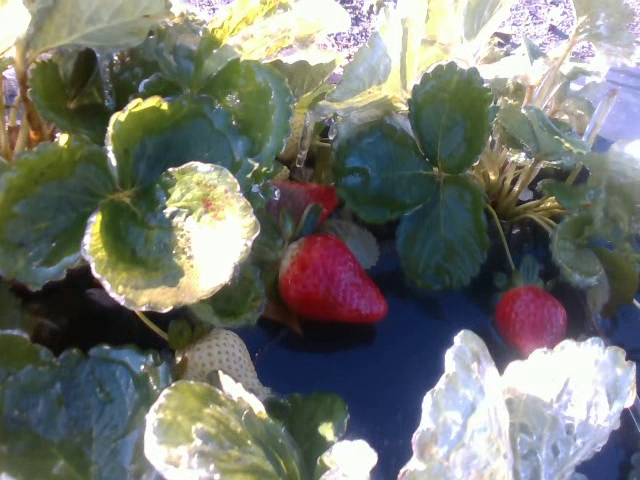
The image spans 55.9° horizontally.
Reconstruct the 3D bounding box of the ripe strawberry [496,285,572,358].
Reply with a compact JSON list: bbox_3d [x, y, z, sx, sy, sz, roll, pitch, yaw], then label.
[{"bbox_3d":[0.102,0.041,0.283,0.039,0.047,0.040,29,-43,-9],"label":"ripe strawberry"}]

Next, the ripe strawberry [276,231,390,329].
[{"bbox_3d":[0.011,0.019,0.271,0.056,0.044,0.040,38,-33,-3],"label":"ripe strawberry"}]
